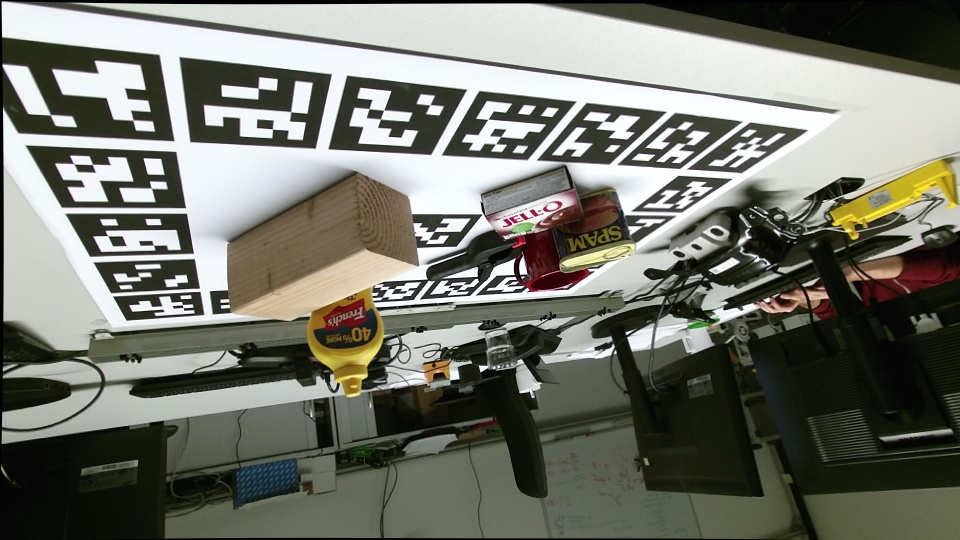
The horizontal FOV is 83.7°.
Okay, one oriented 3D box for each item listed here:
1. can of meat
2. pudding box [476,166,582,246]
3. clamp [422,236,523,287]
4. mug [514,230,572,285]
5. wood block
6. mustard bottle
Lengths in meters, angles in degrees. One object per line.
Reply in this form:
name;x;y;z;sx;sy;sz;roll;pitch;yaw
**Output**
can of meat;0.150;-0.048;0.716;0.102;0.083;0.058;-15;157;4
pudding box;0.062;-0.077;0.667;0.114;0.038;0.090;-17;158;13
clamp;0.004;-0.011;0.811;0.122;0.036;0.165;9;147;-41
mug;0.094;-0.027;0.811;0.093;0.081;0.117;10;147;-45
wood block;-0.186;-0.017;0.610;0.207;0.090;0.090;-22;159;25
mustard bottle;-0.174;0.075;0.693;0.096;0.190;0.058;-6;157;-20
